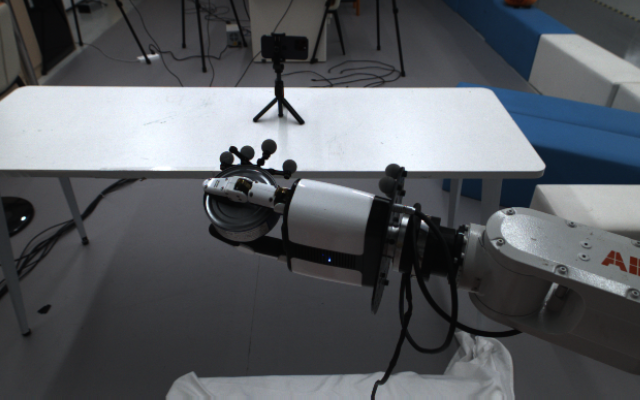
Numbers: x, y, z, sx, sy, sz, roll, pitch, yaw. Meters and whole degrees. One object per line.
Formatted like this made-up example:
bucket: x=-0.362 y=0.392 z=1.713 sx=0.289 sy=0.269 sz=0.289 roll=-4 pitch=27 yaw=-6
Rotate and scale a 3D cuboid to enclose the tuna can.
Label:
tuna can: x=-0.087 y=0.003 z=0.555 sx=0.085 sy=0.034 sz=0.085 roll=-2 pitch=58 yaw=4
